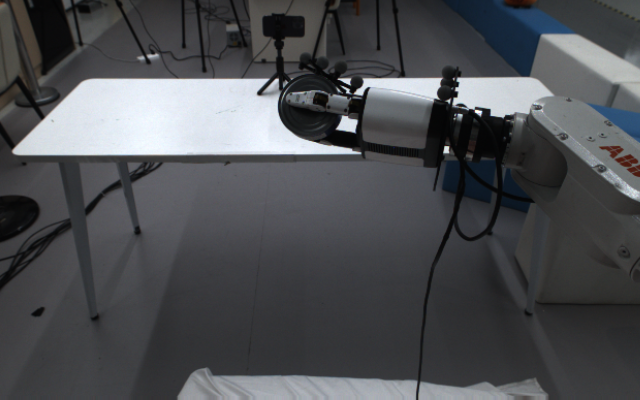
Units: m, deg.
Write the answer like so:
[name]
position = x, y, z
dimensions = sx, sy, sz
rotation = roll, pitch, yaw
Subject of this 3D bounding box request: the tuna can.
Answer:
[tuna can]
position = -0.012, -0.126, 0.662
dimensions = 0.085, 0.085, 0.034
rotation = 9, -5, 10
